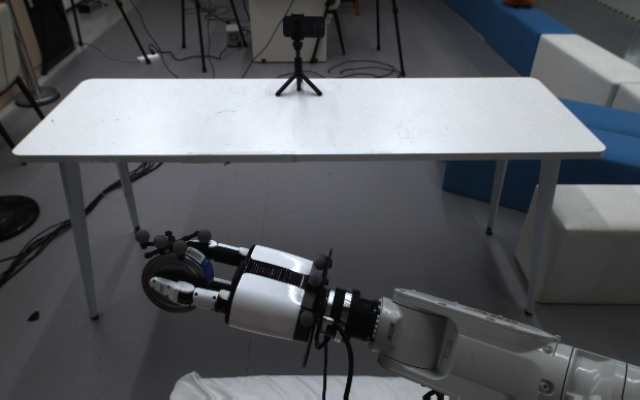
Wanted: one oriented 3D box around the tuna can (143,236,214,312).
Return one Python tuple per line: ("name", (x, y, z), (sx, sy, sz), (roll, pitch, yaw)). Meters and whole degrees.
("tuna can", (-0.177, 0.103, 0.627), (0.085, 0.085, 0.034), (4, 17, 3))
